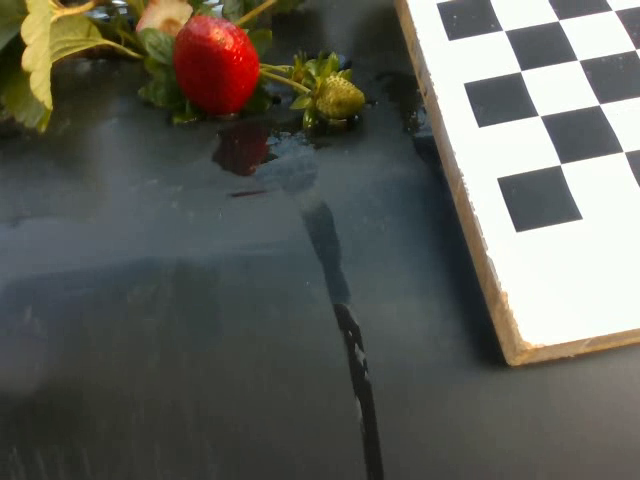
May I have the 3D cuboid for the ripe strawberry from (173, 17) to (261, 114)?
[{"bbox_3d":[-0.047,-0.087,0.285,0.043,0.052,0.057,-36,4,-6],"label":"ripe strawberry"}]
